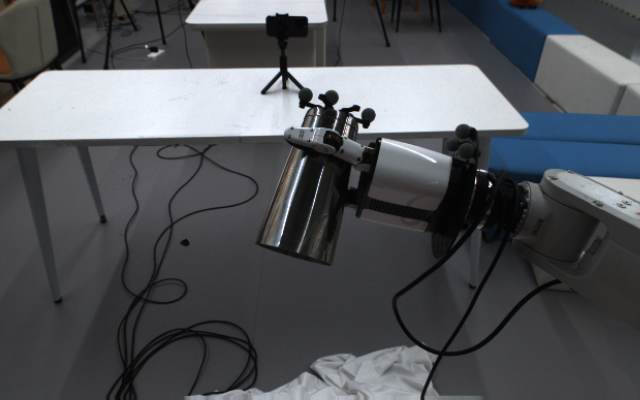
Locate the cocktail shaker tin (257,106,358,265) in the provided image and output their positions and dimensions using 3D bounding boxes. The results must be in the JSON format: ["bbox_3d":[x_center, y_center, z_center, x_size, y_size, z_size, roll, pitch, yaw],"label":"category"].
[{"bbox_3d":[-0.004,-0.019,0.569,0.093,0.093,0.170,13,79,15],"label":"cocktail shaker tin"}]
